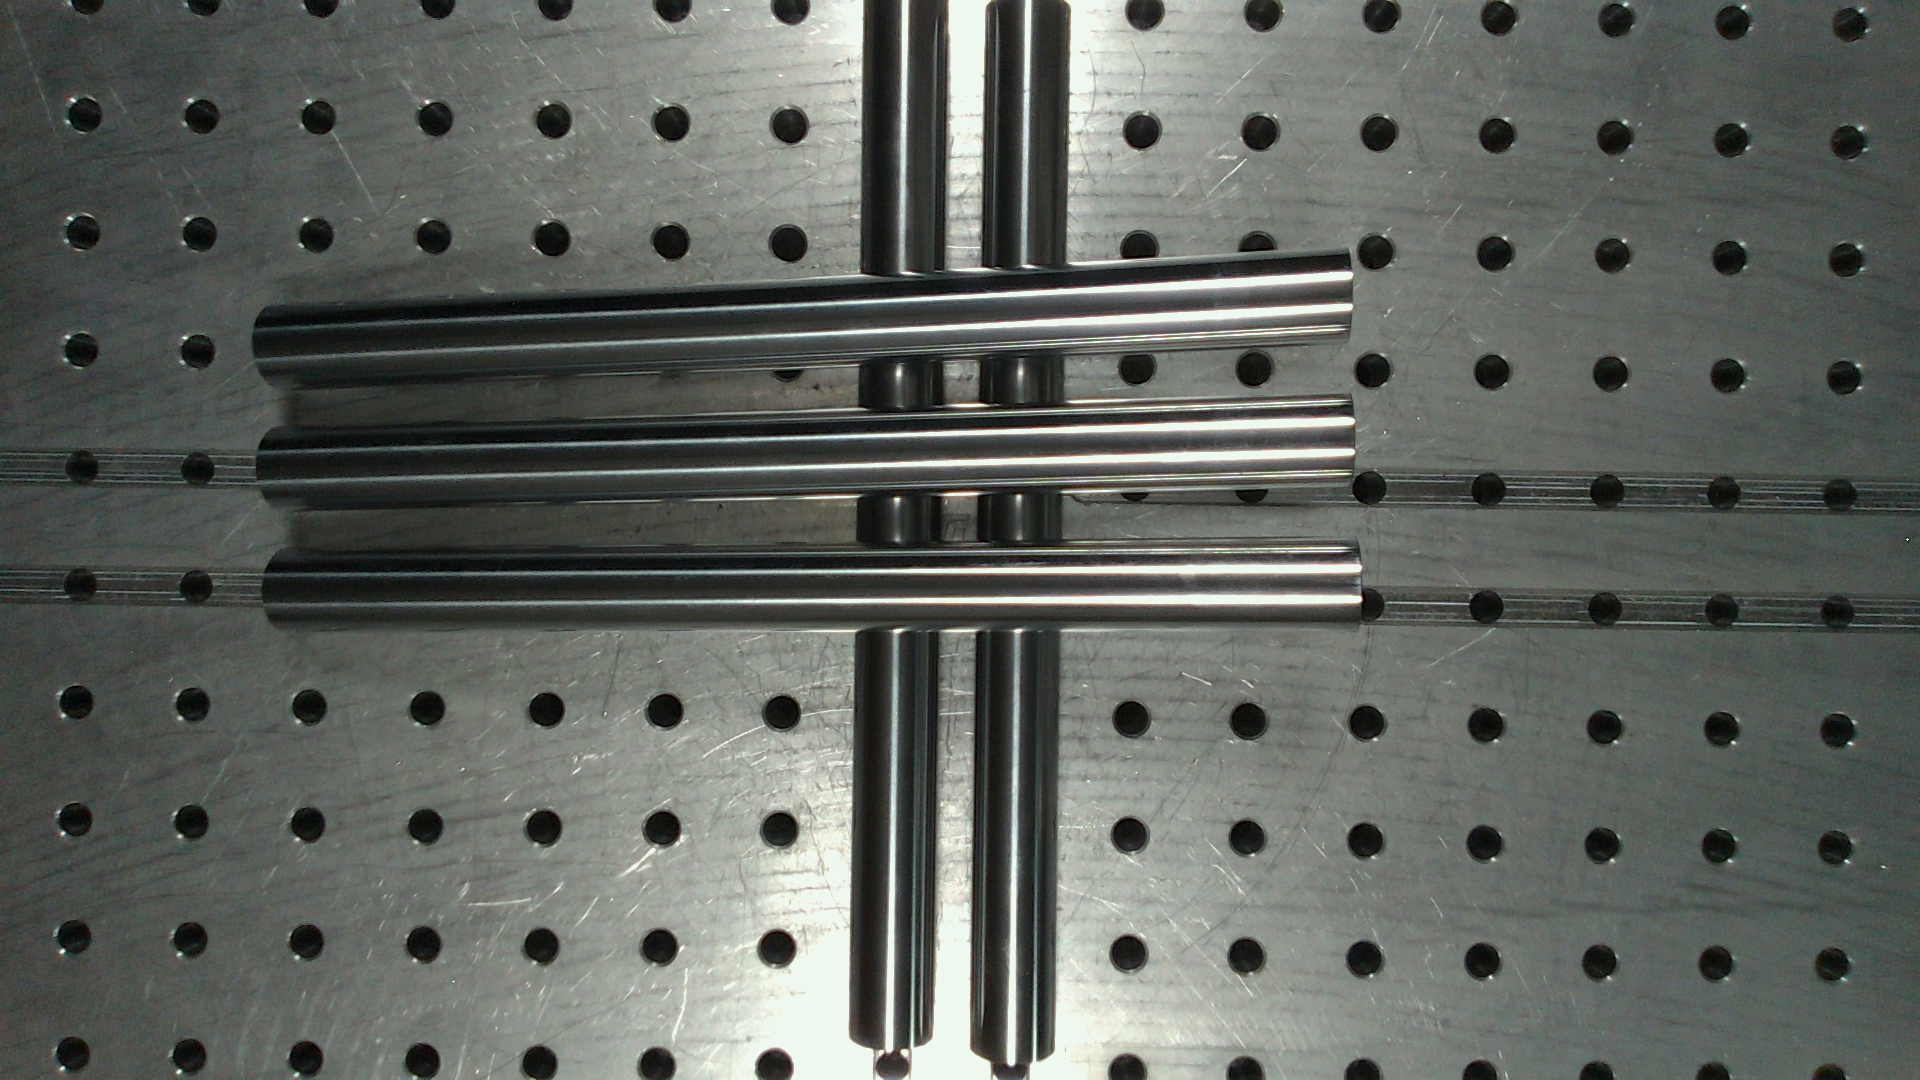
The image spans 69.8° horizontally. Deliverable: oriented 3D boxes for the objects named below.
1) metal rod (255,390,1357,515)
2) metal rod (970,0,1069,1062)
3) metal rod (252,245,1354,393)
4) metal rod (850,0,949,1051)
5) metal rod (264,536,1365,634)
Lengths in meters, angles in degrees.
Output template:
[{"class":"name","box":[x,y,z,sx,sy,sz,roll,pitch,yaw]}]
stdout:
[{"class":"metal rod","box":[-0.047,-0.023,0.377,0.300,0.025,0.025,-1,90,8]},{"class":"metal rod","box":[0.017,-0.003,0.398,0.025,0.025,0.300,1,90,0]},{"class":"metal rod","box":[-0.048,-0.059,0.377,0.300,0.025,0.025,-2,90,8]},{"class":"metal rod","box":[-0.018,-0.007,0.398,0.025,0.025,0.300,1,90,0]},{"class":"metal rod","box":[-0.045,0.013,0.377,0.300,0.025,0.025,-1,90,8]}]
